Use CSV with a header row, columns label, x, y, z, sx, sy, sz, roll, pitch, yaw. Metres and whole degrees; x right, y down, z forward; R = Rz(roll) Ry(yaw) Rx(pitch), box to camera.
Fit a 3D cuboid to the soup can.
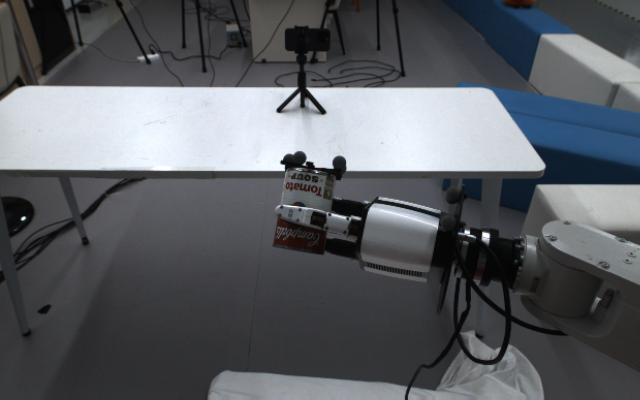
label,x,y,z,sx,sy,sz,roll,pitch,yaw
soup can,-0.018,0.014,0.622,0.067,0.101,0.067,9,-5,1
